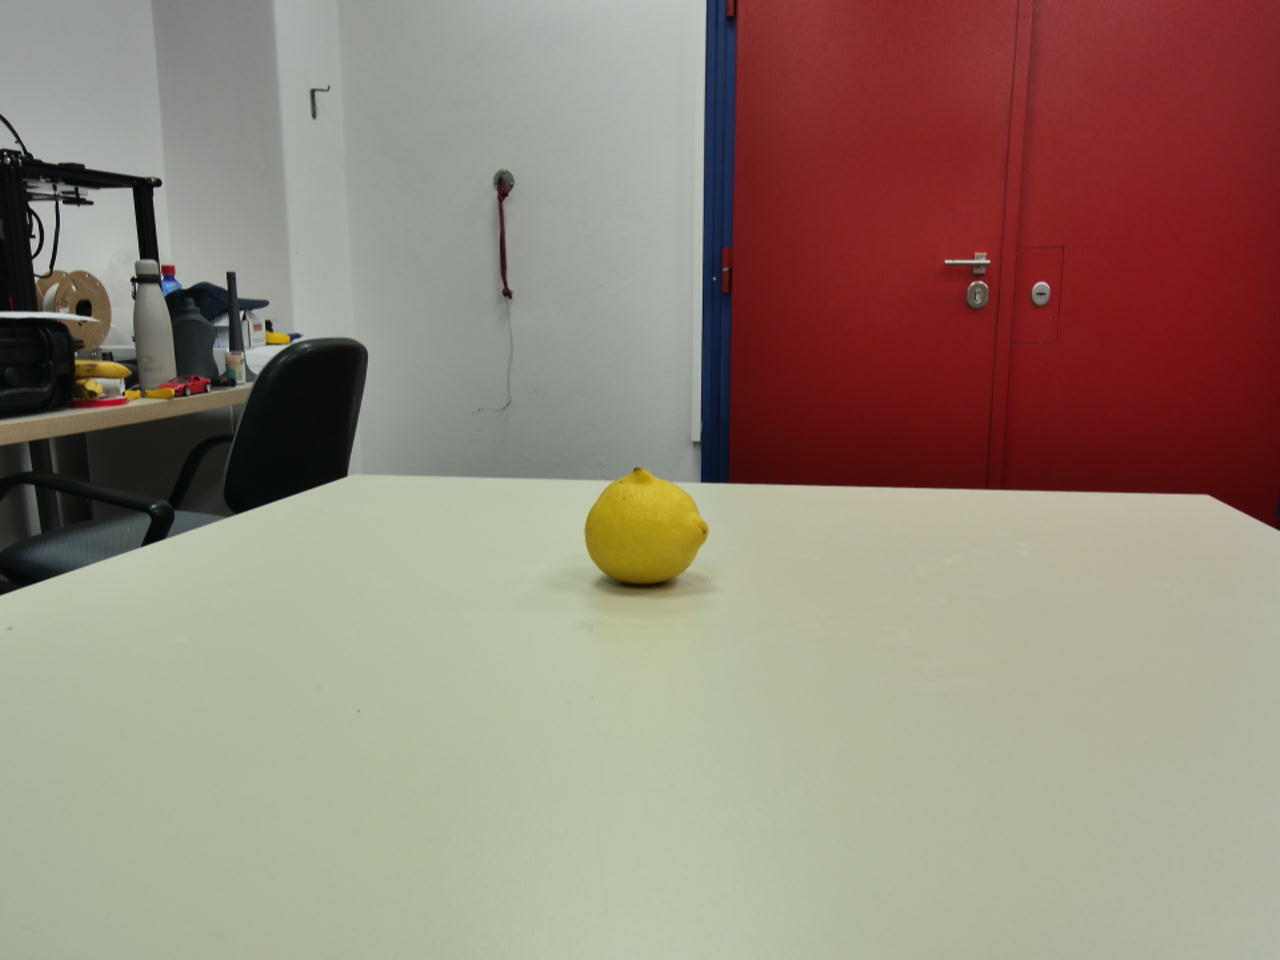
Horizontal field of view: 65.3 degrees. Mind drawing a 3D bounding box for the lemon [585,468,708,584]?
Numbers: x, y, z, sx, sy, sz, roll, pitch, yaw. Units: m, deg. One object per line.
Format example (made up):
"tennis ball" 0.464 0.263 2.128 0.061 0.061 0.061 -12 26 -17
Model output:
"lemon" 0.002 0.028 0.613 0.070 0.071 0.071 -4 8 -22
